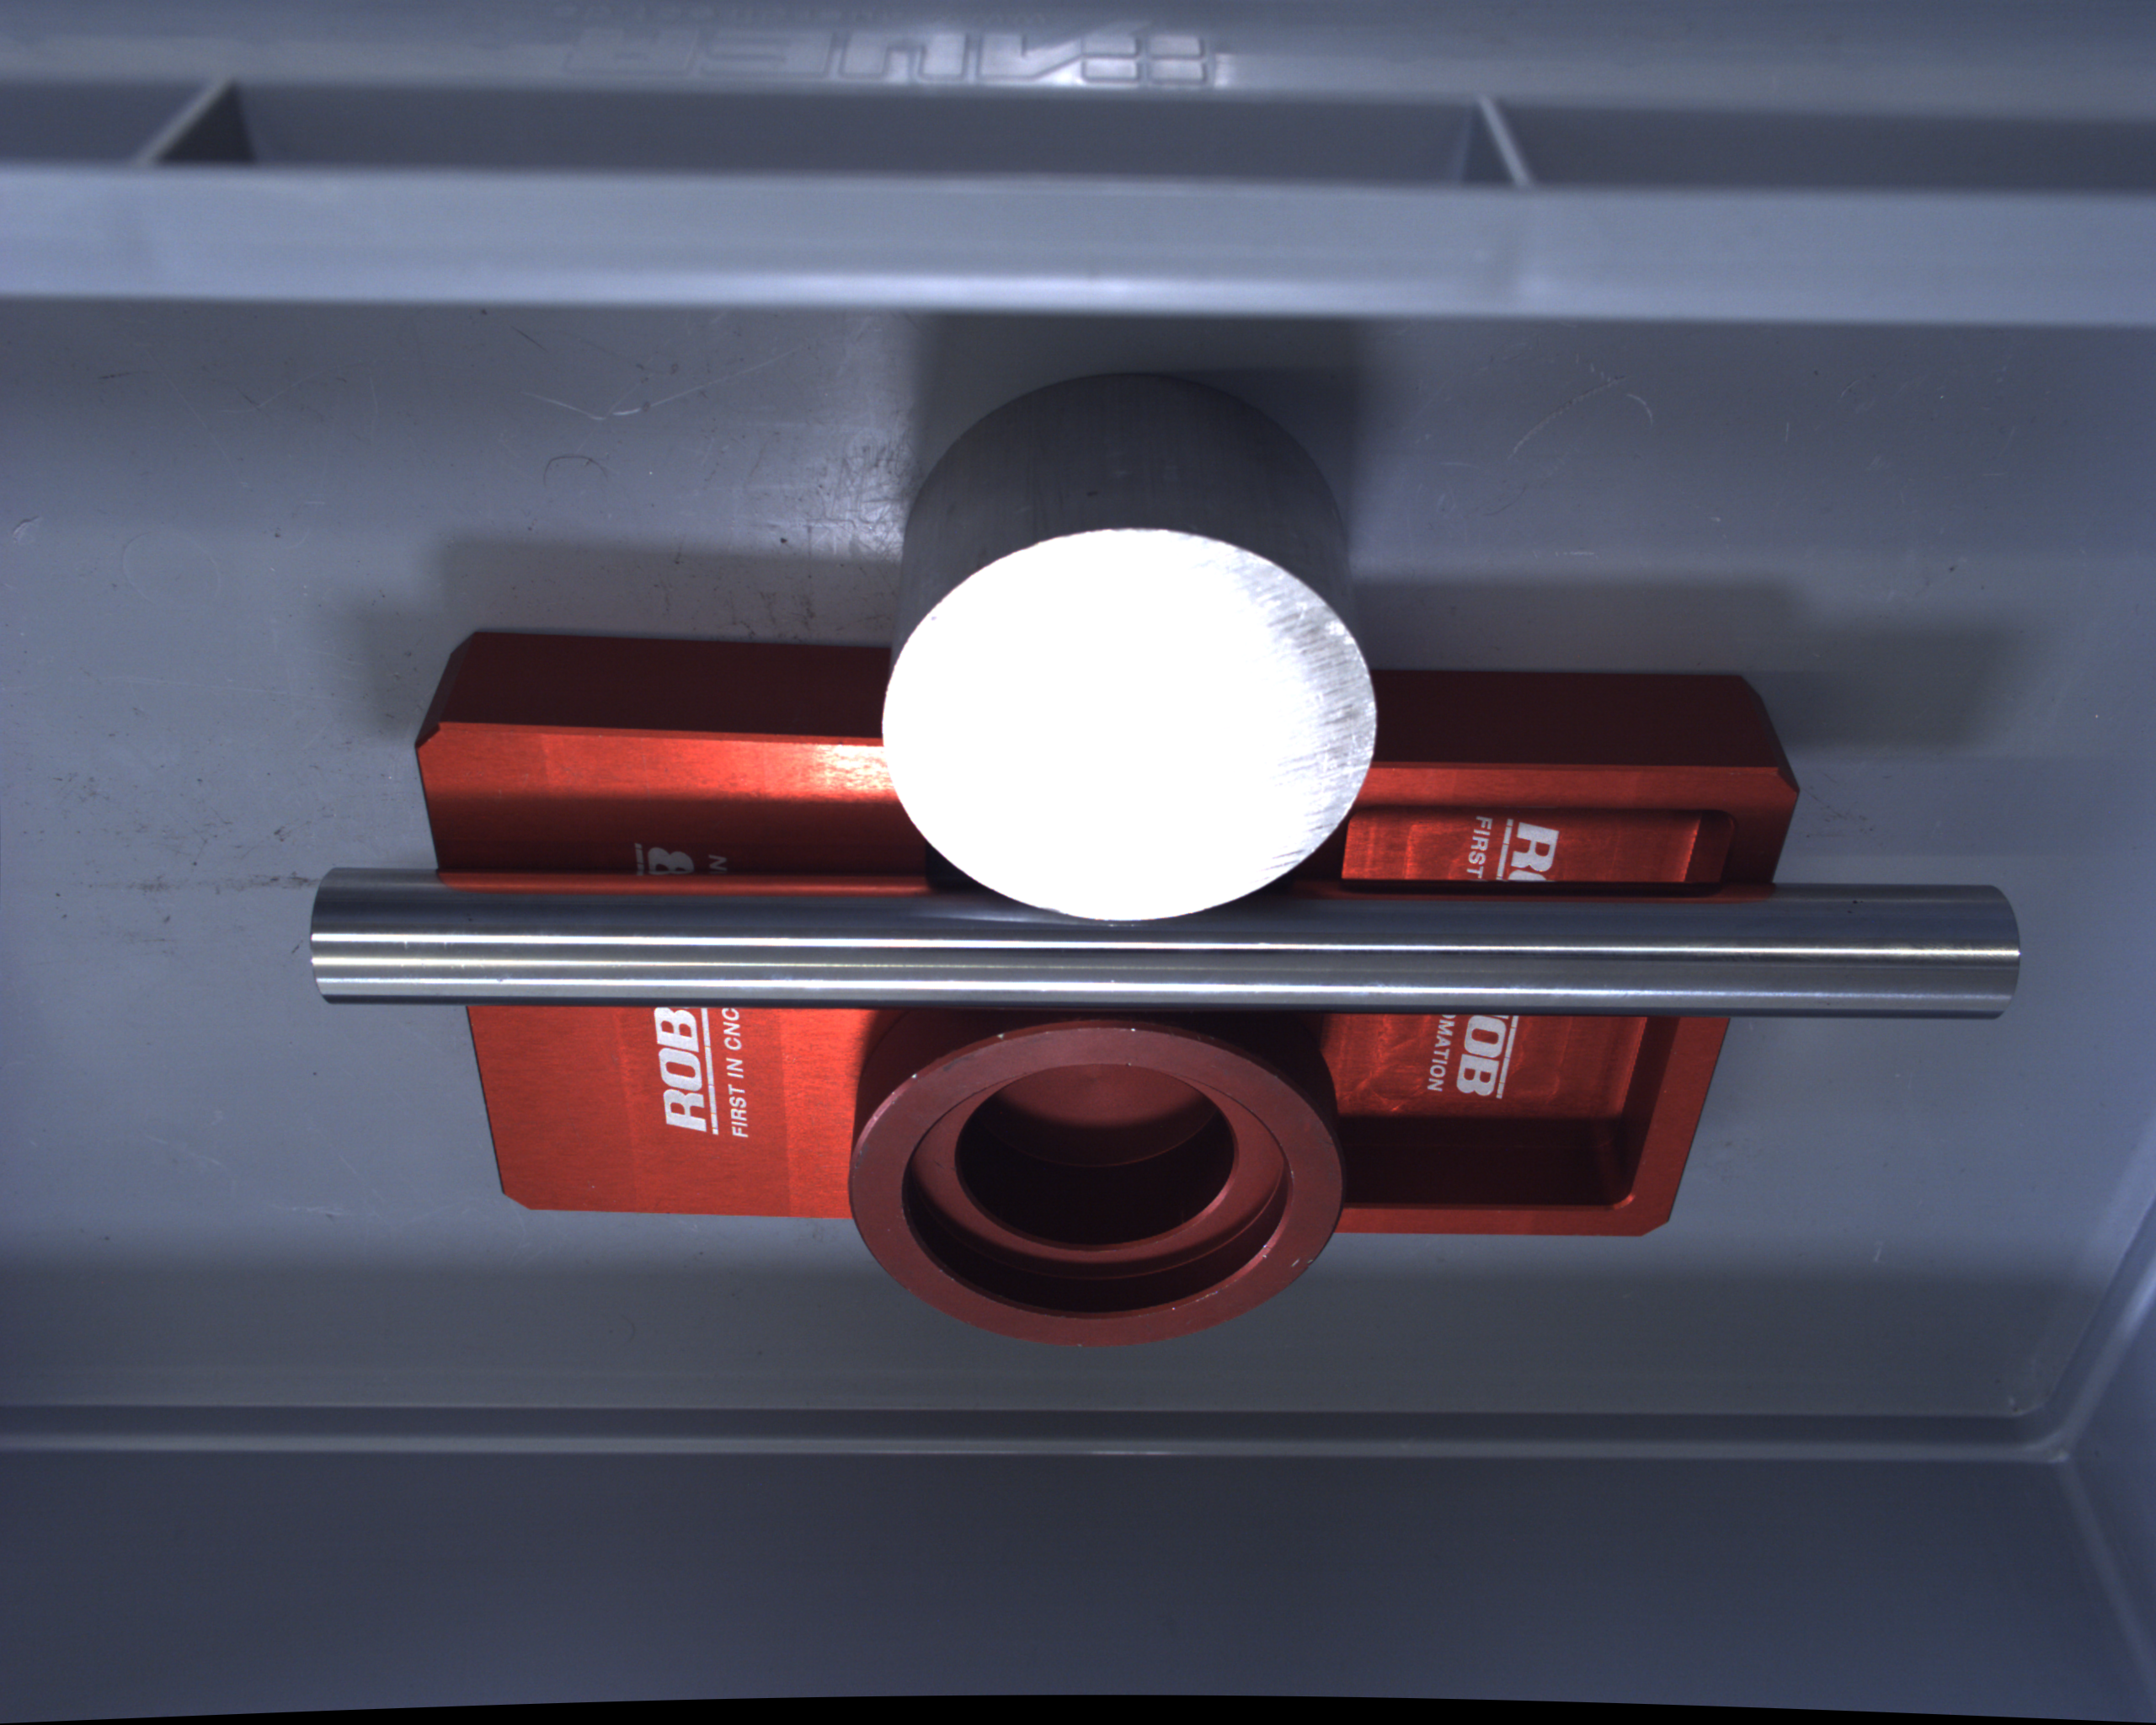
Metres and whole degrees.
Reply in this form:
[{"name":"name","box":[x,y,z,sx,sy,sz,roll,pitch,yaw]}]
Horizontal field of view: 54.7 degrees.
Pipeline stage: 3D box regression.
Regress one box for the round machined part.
[{"name":"round machined part","box":[0.004,0.053,0.429,0.099,0.042,0.097,0,130,0]}]

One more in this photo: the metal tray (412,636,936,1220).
[{"name":"metal tray","box":[-0.074,0.018,0.416,0.091,0.030,0.129,2,130,-2]}]

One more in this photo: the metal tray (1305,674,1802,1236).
[{"name":"metal tray","box":[0.084,0.023,0.423,0.091,0.030,0.129,0,130,-1]}]

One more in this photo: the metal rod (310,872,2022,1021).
[{"name":"metal rod","box":[0.017,0.015,0.380,0.302,0.025,0.025,0,130,-1]}]

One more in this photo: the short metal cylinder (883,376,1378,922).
[{"name":"short metal cylinder","box":[0.009,-0.036,0.359,0.081,0.050,0.079,0,130,0]}]
